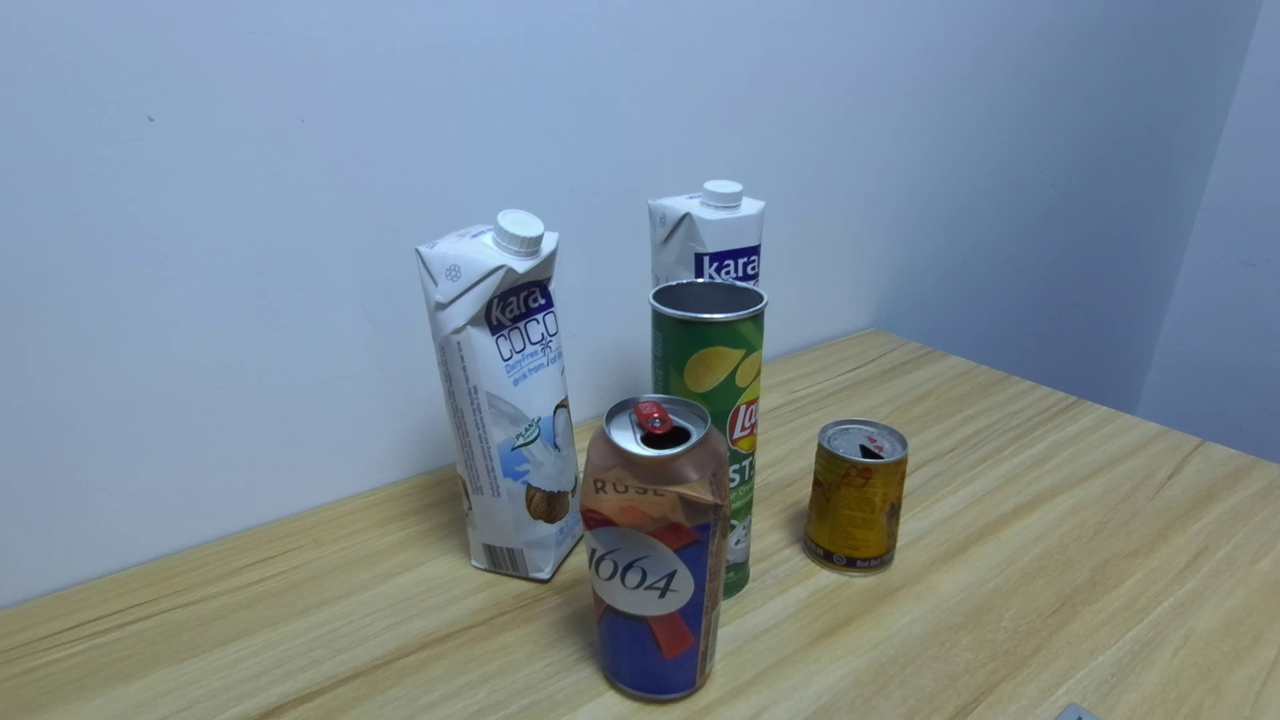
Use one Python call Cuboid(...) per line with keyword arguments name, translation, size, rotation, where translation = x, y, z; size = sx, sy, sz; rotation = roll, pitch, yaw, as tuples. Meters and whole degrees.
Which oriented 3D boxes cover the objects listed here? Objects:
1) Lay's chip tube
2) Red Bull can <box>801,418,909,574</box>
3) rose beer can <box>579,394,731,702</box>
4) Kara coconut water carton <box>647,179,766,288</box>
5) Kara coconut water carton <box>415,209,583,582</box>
Cuboid(name="Lay's chip tube", translation=(0.042, 0.053, 0.452), size=(0.071, 0.202, 0.071), rotation=(-1, 24, 1))
Cuboid(name="Red Bull can", translation=(0.151, 0.096, 0.495), size=(0.069, 0.092, 0.069), rotation=(0, 22, 0))
Cuboid(name="rose beer can", translation=(0.008, 0.105, 0.382), size=(0.075, 0.167, 0.065), rotation=(17, 32, 30))
Cuboid(name="Kara coconut water carton", translation=(0.053, -0.020, 0.569), size=(0.077, 0.245, 0.075), rotation=(-14, 25, -28))
Cuboid(name="Kara coconut water carton", translation=(-0.085, 0.023, 0.475), size=(0.071, 0.244, 0.100), rotation=(5, 26, 20))
